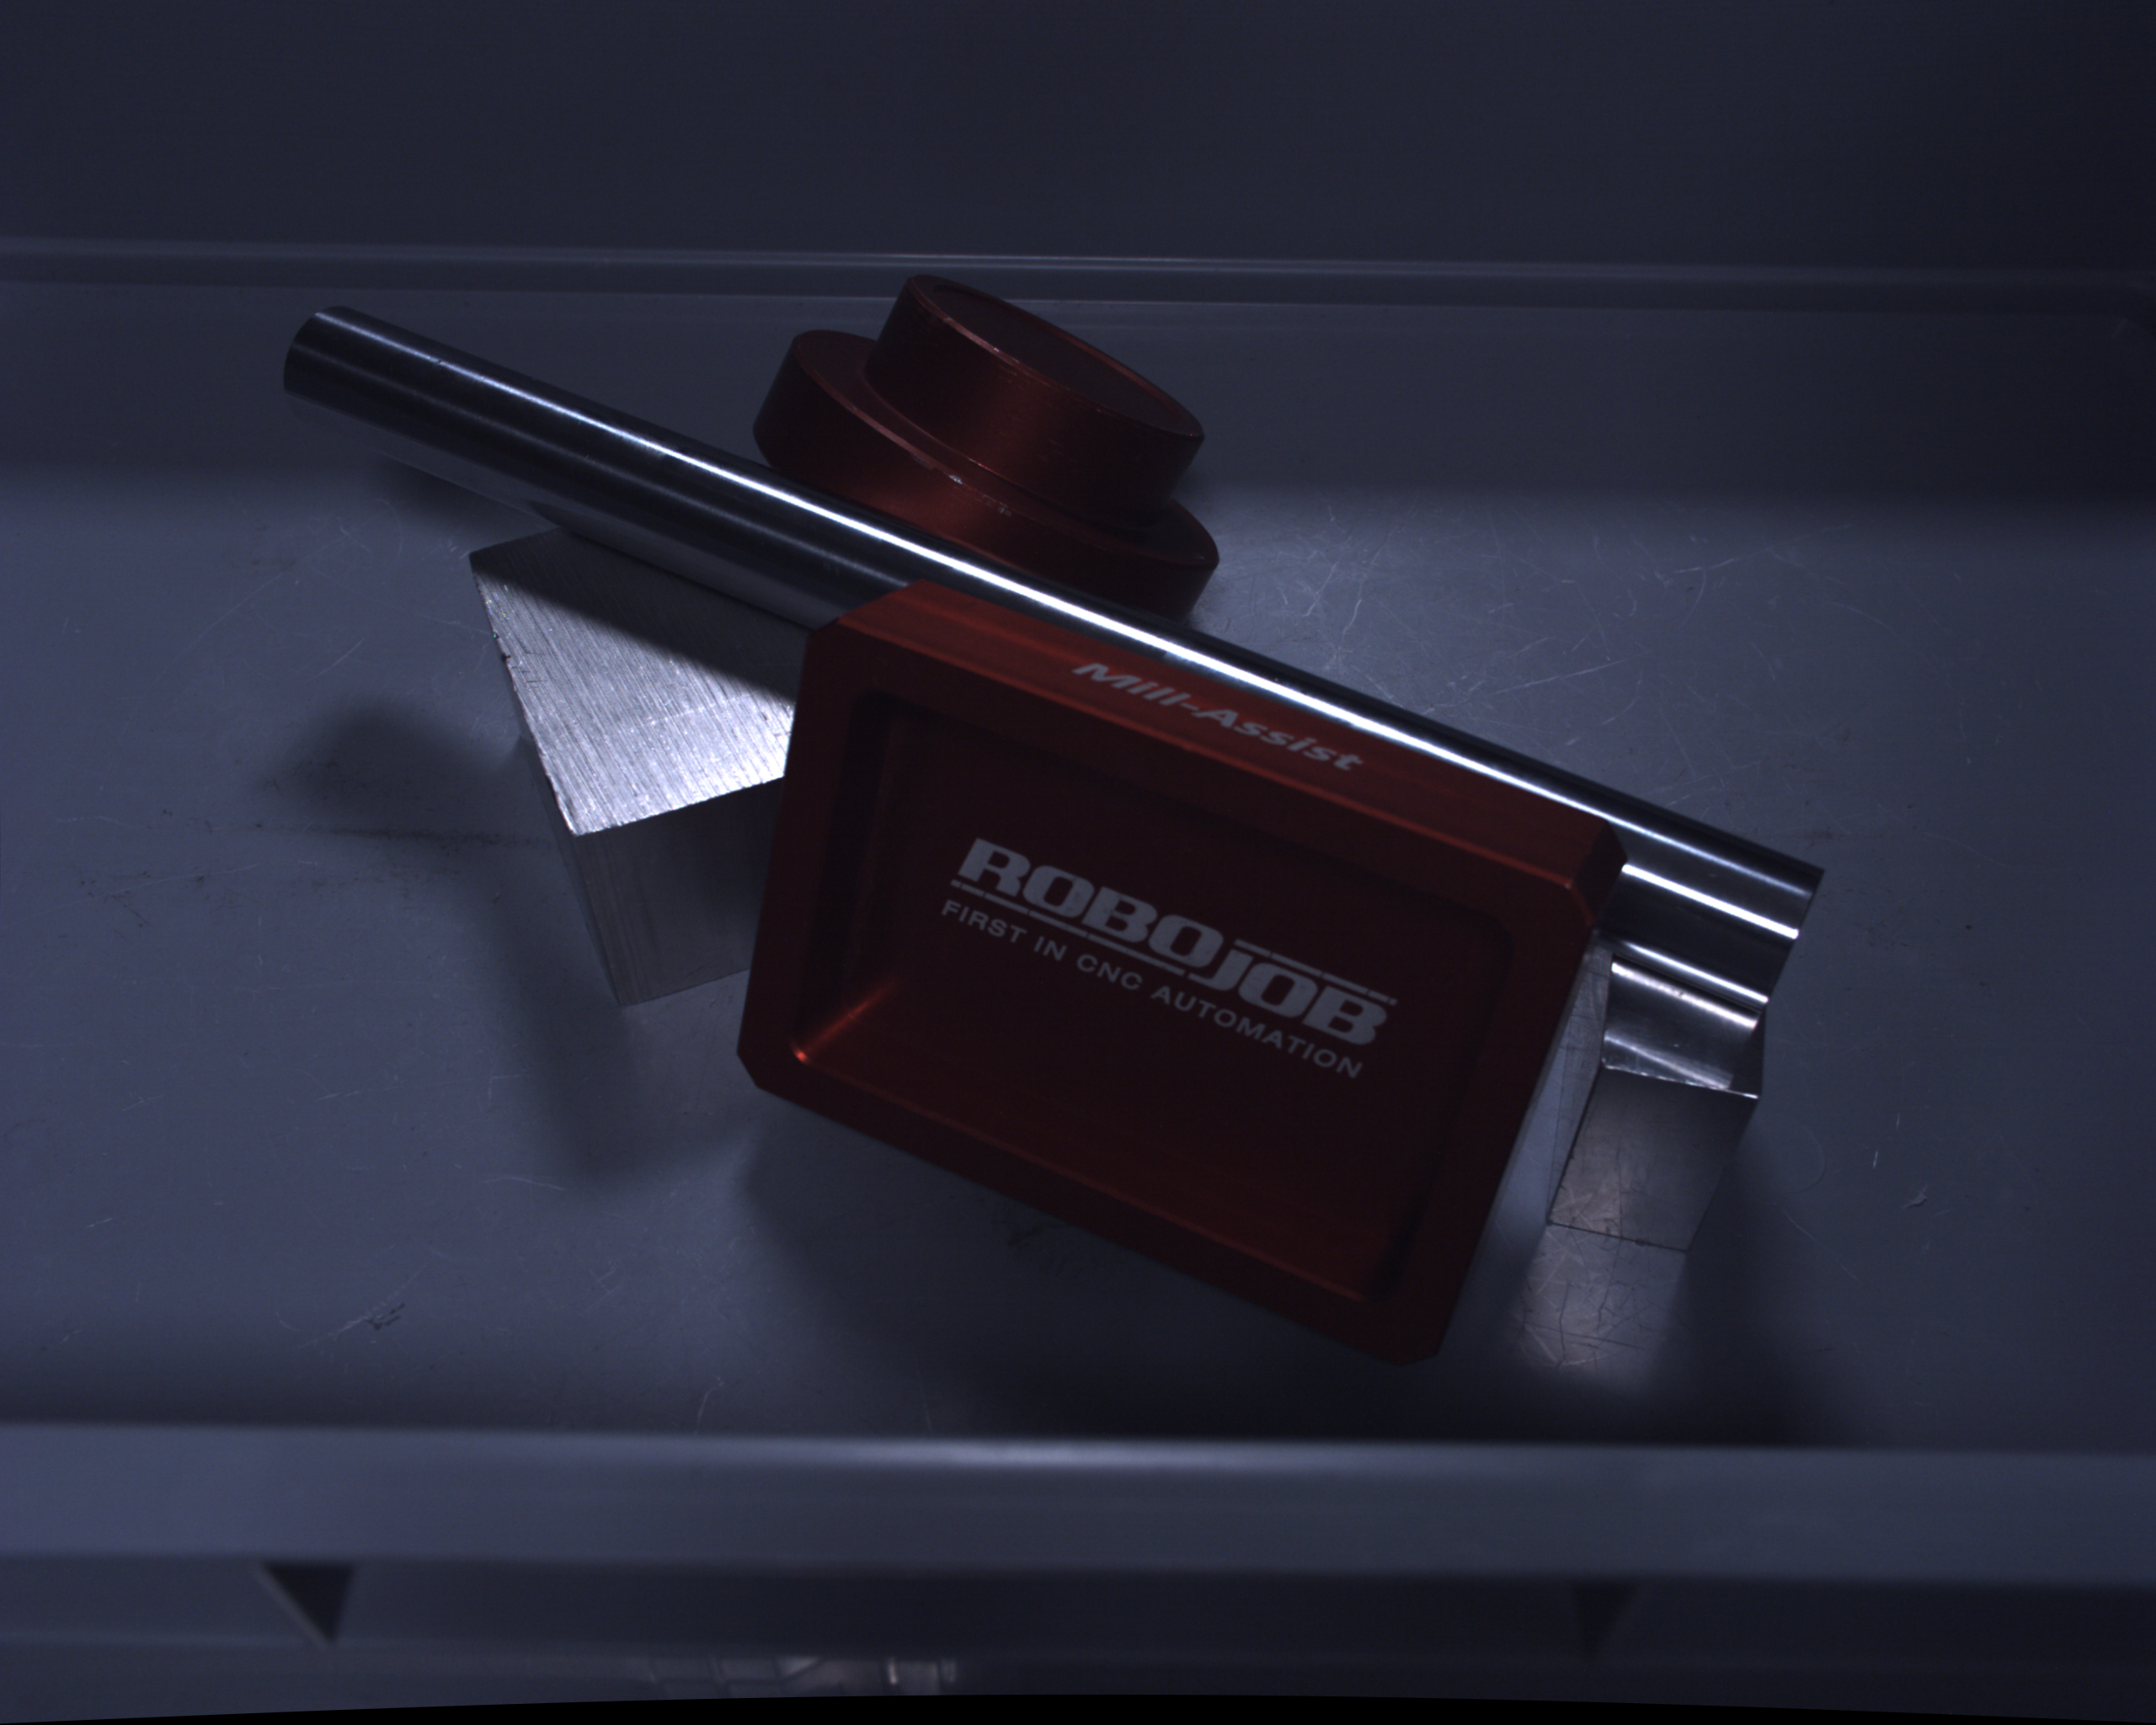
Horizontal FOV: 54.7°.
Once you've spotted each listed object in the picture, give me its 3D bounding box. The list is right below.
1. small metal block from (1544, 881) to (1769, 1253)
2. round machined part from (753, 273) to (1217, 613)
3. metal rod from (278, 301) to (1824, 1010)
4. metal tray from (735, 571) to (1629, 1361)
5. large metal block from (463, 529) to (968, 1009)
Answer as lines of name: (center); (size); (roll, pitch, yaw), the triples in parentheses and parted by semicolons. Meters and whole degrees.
small metal block: (0.101, 0.031, 0.362); (0.025, 0.050, 0.050); (11, 51, 9)
round machined part: (-0.013, -0.087, 0.431); (0.098, 0.042, 0.098); (26, 20, -10)
metal rod: (-0.019, -0.044, 0.374); (0.301, 0.025, 0.025); (23, 54, 18)
metal tray: (0.012, 0.015, 0.344); (0.130, 0.089, 0.030); (21, 26, 16)
large metal block: (-0.066, -0.028, 0.409); (0.081, 0.050, 0.080); (-18, 52, -15)
